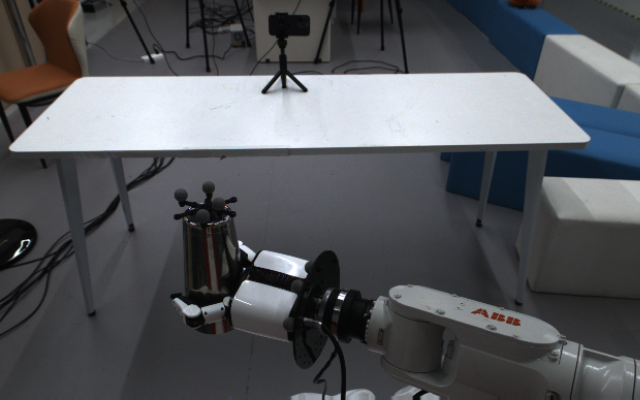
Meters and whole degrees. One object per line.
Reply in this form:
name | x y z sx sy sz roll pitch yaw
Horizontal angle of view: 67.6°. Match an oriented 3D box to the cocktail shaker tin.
cocktail shaker tin | -0.149 0.093 0.679 0.093 0.170 0.093 1 28 0
